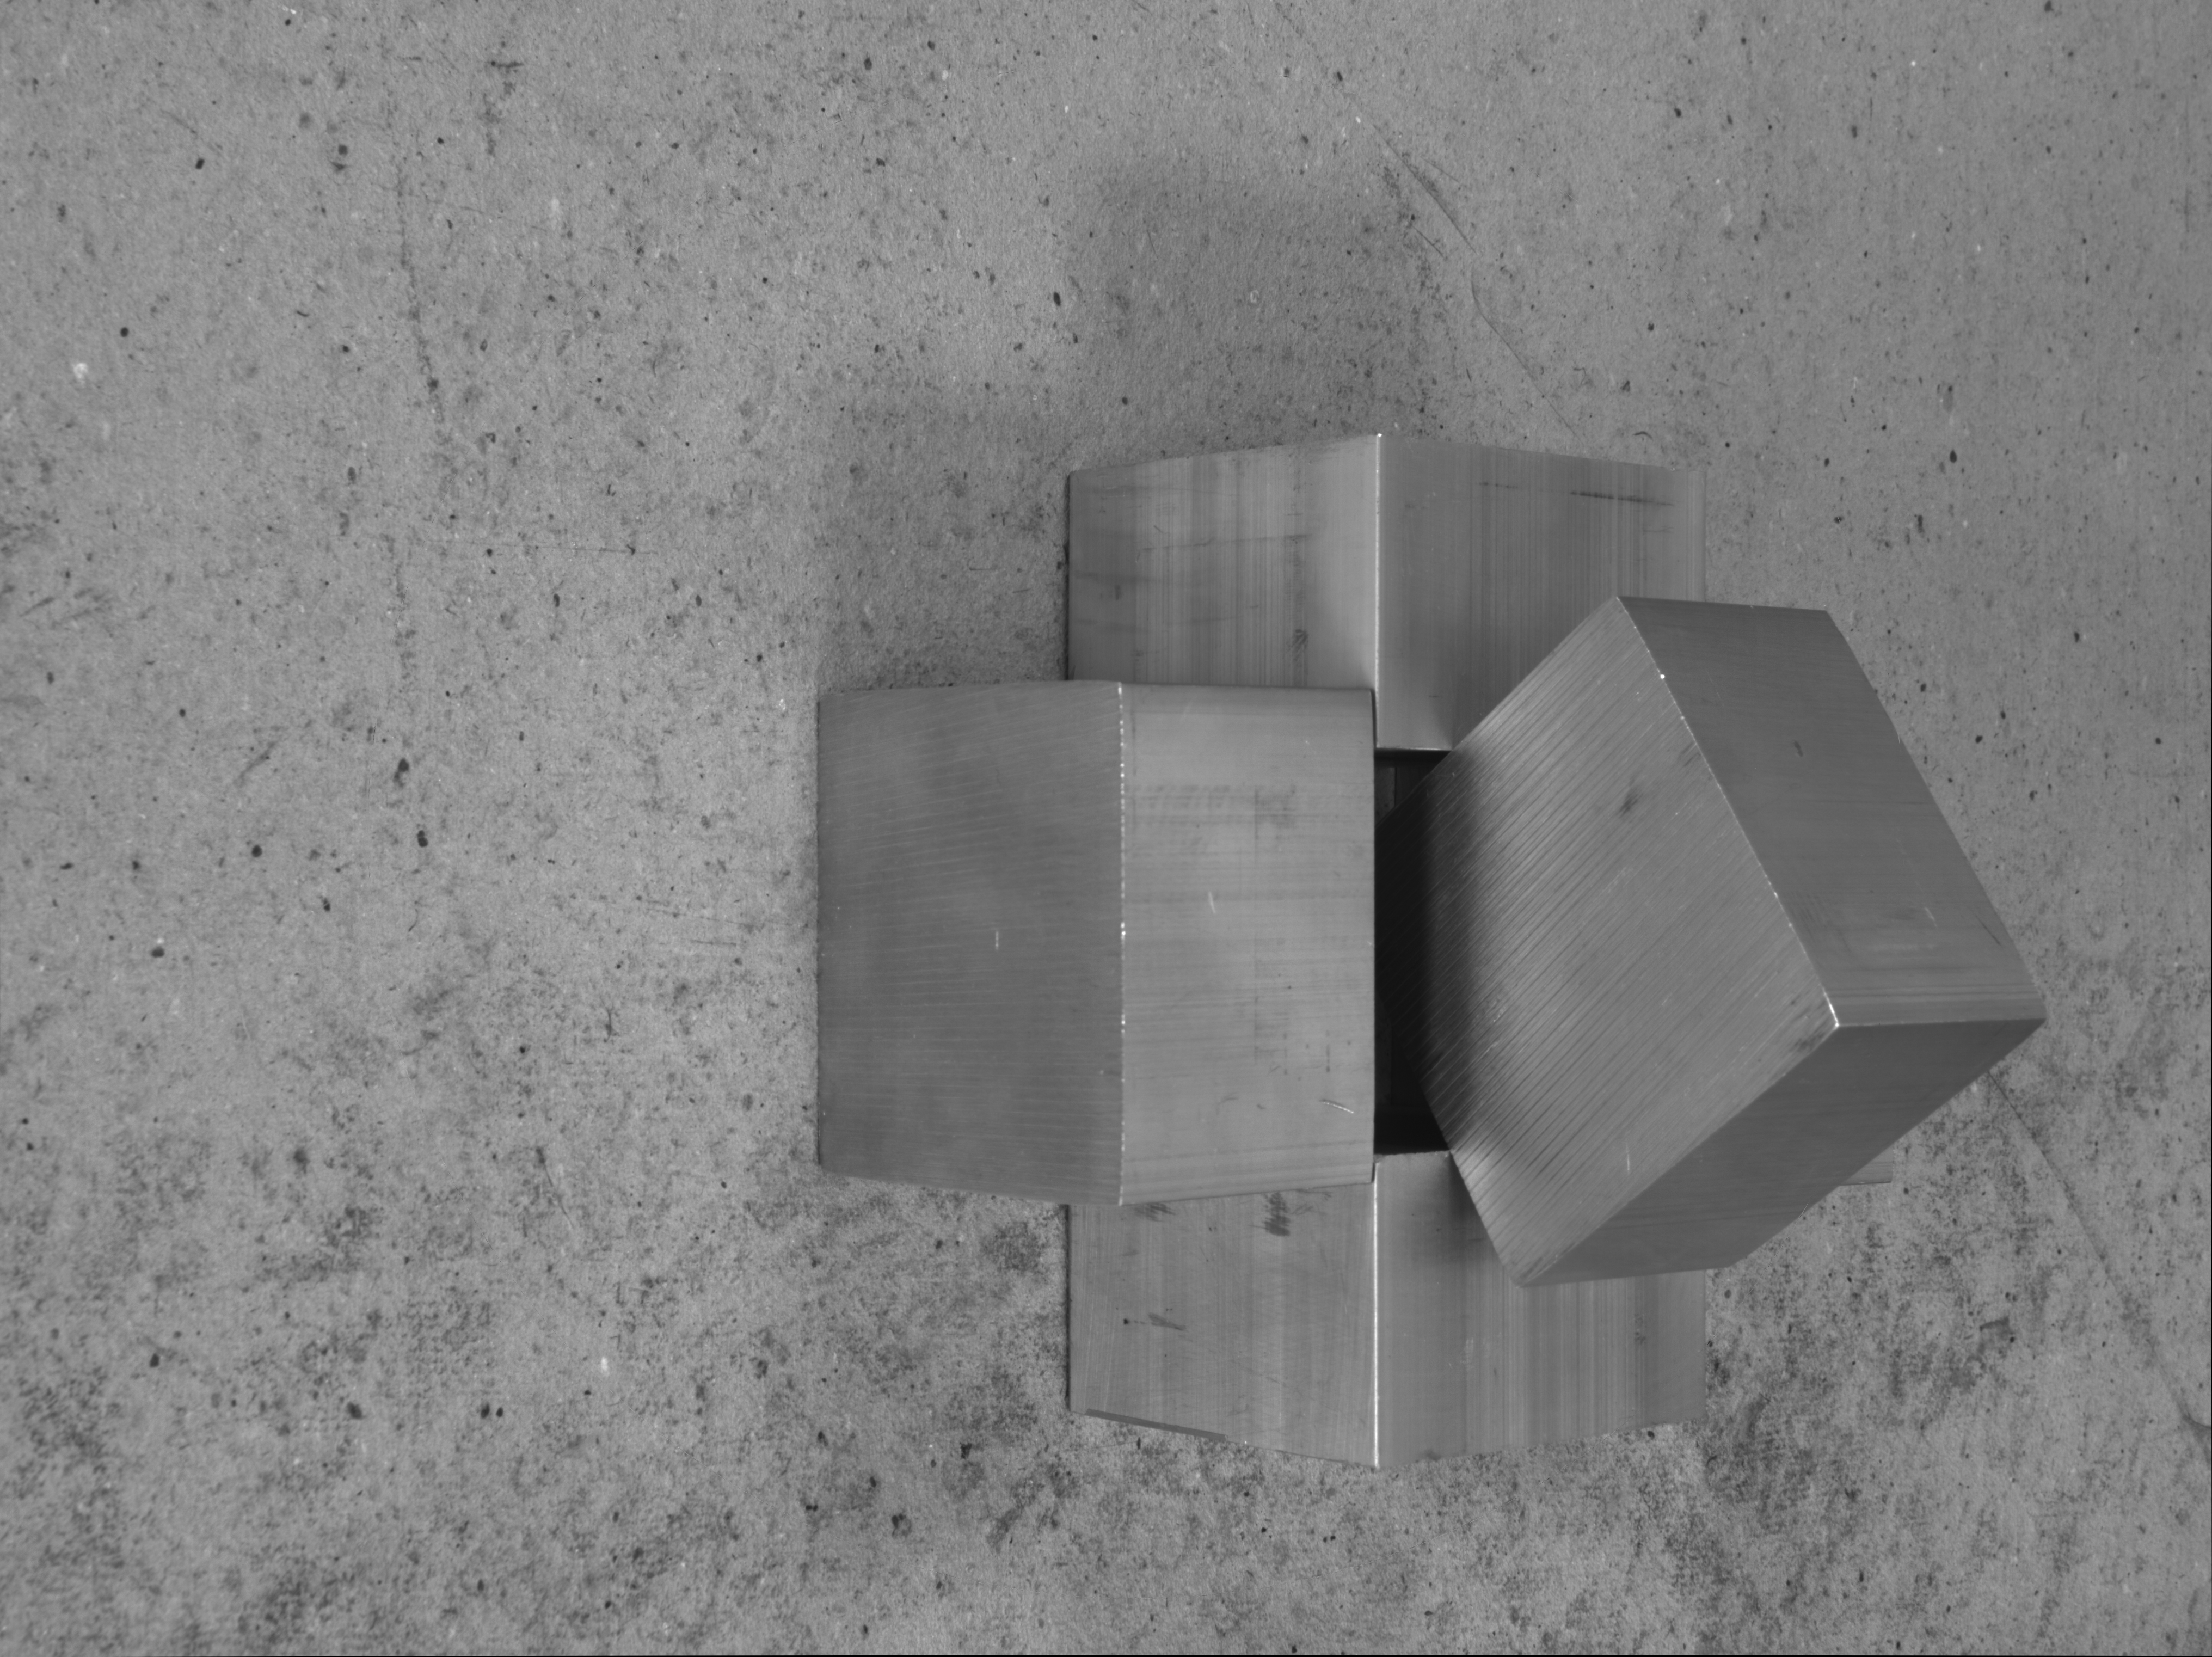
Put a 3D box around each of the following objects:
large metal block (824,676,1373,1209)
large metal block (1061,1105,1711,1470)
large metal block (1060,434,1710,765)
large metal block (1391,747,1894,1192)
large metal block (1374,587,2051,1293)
[{"bbox_3d":[-0.002,0.017,0.597,0.050,0.080,0.080,0,90,-39],"label":"large metal block"},{"bbox_3d":[0.048,0.077,0.641,0.080,0.080,0.050,0,90,-40],"label":"large metal block"},{"bbox_3d":[0.048,-0.037,0.641,0.080,0.080,0.050,1,89,-40],"label":"large metal block"},{"bbox_3d":[0.099,0.025,0.682,0.050,0.080,0.080,1,89,-40],"label":"large metal block"},{"bbox_3d":[0.091,0.019,0.591,0.050,0.080,0.080,1,55,-40],"label":"large metal block"}]
